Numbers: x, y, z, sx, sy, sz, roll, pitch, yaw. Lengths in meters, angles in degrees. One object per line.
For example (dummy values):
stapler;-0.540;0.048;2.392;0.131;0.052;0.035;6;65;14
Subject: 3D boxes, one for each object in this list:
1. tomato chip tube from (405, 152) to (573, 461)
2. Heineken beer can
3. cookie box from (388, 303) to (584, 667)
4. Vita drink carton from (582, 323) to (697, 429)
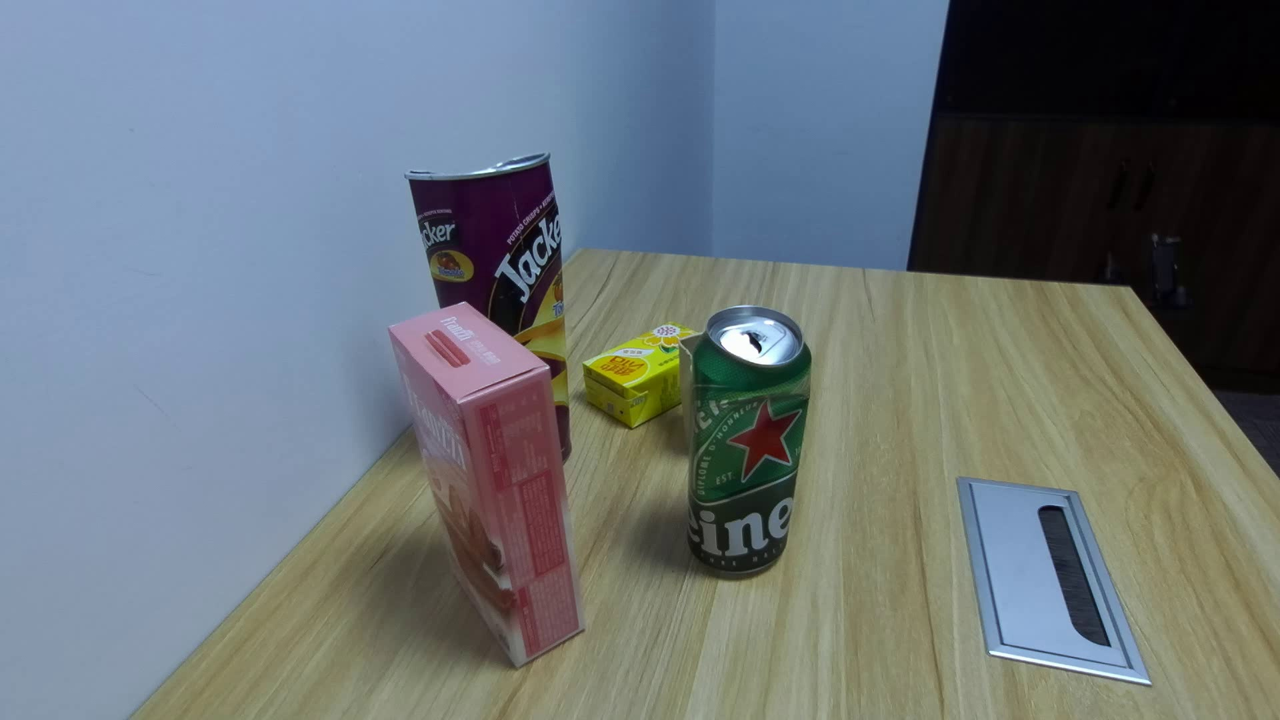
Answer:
tomato chip tube;-0.098;-0.028;0.518;0.077;0.235;0.076;8;32;18
Heineken beer can;0.064;0.054;0.429;0.068;0.168;0.069;9;34;13
cookie box;-0.081;0.072;0.395;0.048;0.185;0.095;-23;36;-29
Vita drink carton;0.012;0.012;0.630;0.109;0.043;0.066;-25;35;-34
